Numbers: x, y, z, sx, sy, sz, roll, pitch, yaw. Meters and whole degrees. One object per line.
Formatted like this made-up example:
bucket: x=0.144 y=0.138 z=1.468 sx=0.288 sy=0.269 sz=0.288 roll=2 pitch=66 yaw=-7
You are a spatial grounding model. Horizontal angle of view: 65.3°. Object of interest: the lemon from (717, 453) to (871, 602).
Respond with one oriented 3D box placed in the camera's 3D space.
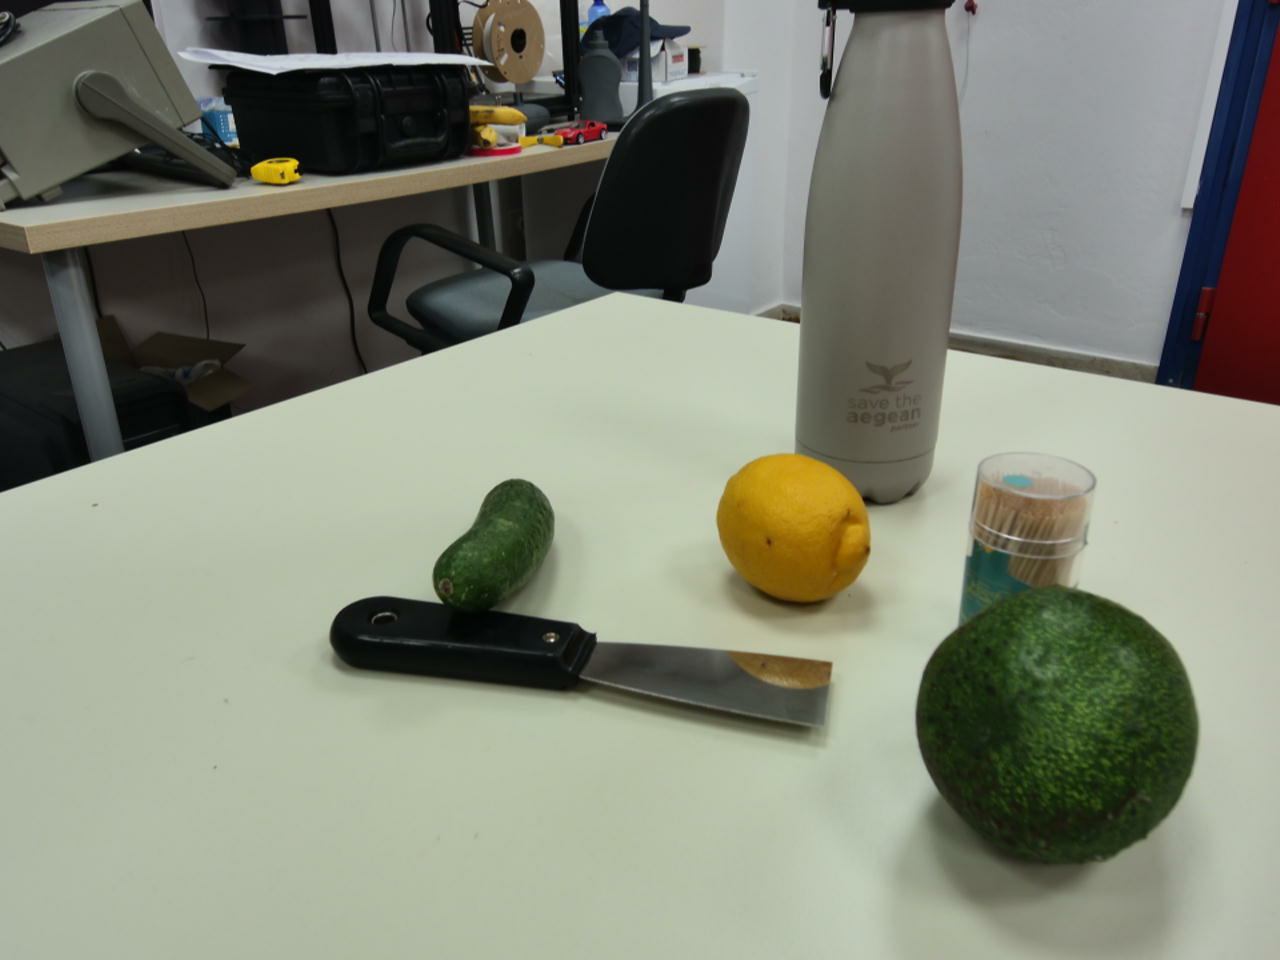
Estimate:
lemon: x=0.064 y=0.020 z=0.420 sx=0.061 sy=0.059 sz=0.067 roll=-4 pitch=23 yaw=-8
